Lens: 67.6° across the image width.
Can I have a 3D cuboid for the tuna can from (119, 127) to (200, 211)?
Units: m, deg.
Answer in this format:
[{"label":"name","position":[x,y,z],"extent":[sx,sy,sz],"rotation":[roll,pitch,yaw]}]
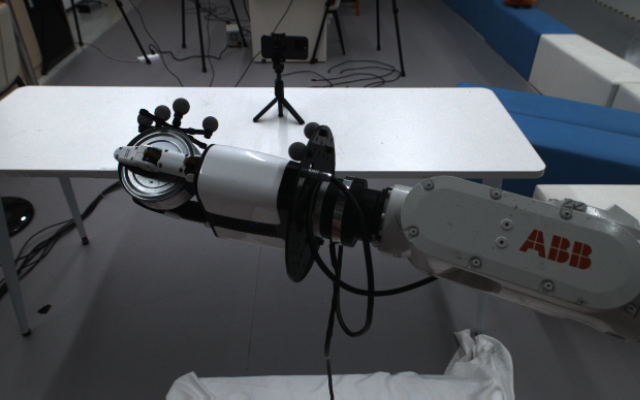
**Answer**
[{"label":"tuna can","position":[-0.169,-0.034,0.524],"extent":[0.085,0.034,0.085],"rotation":[-3,68,8]}]
